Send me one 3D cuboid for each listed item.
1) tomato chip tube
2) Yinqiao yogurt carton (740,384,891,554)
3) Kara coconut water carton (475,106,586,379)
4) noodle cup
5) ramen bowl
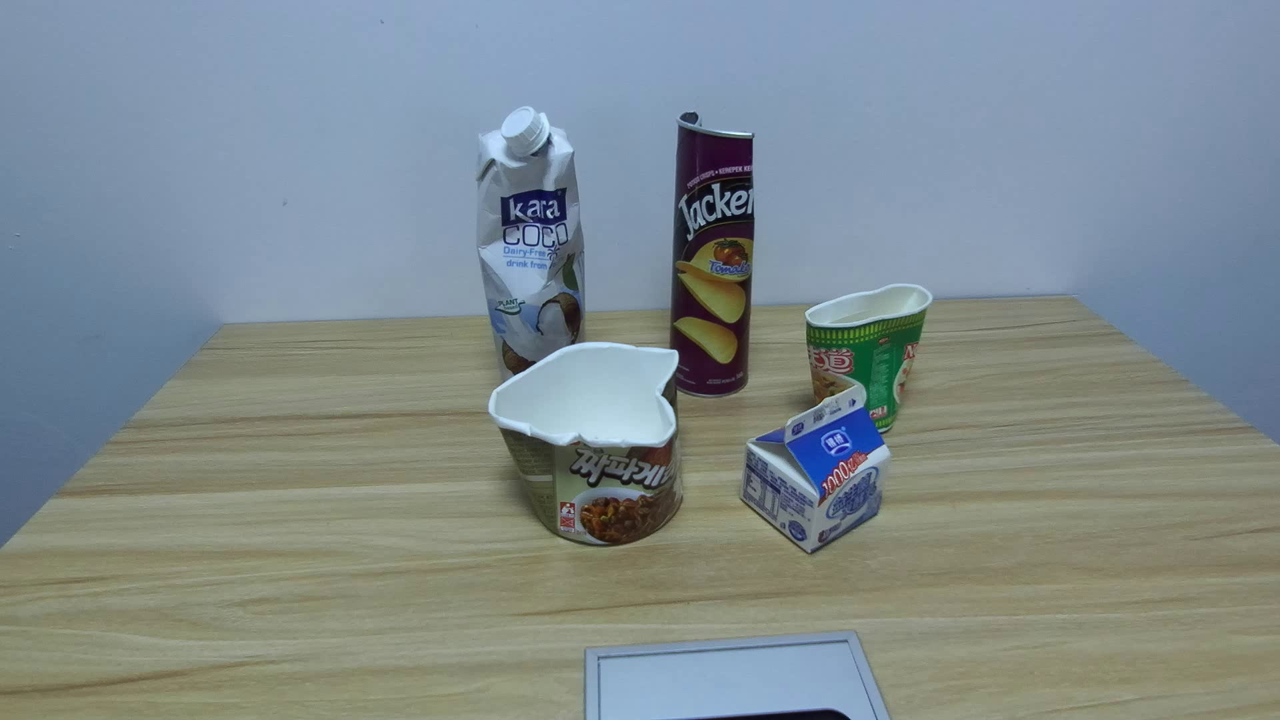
[{"bbox_3d":[0.064,-0.085,0.610,0.076,0.235,0.078,8,30,16],"label":"tomato chip tube"},{"bbox_3d":[0.122,0.067,0.489,0.076,0.092,0.073,-20,35,-29],"label":"Yinqiao yogurt carton"},{"bbox_3d":[-0.088,-0.078,0.580,0.083,0.256,0.078,0,32,0],"label":"Kara coconut water carton"},{"bbox_3d":[0.185,-0.001,0.587,0.115,0.111,0.070,-4,31,-6],"label":"noodle cup"},{"bbox_3d":[-0.035,0.058,0.502,0.134,0.097,0.113,1,33,-1],"label":"ramen bowl"}]
